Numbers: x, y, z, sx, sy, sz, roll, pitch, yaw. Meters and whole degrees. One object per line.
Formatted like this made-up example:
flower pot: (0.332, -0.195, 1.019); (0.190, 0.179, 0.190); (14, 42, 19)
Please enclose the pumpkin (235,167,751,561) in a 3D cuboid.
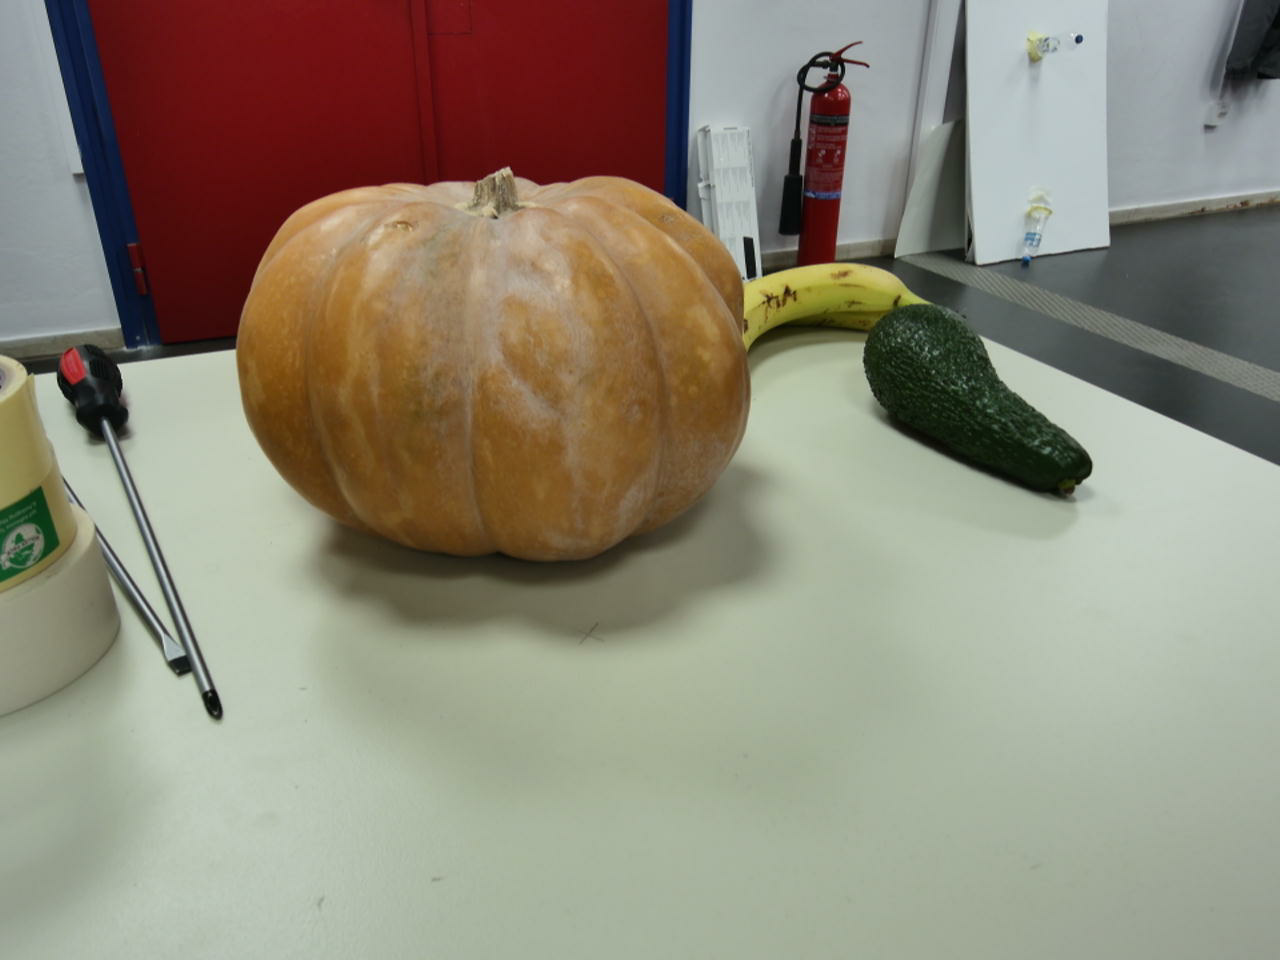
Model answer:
pumpkin: (-0.069, -0.066, 0.518); (0.277, 0.181, 0.277); (0, 26, 0)
